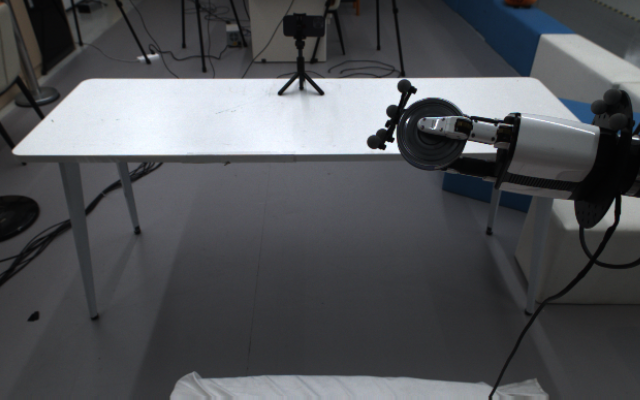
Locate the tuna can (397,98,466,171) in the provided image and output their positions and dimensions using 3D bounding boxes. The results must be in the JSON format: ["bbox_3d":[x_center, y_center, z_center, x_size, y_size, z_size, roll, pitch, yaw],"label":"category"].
[{"bbox_3d":[0.139,-0.083,0.597,0.085,0.085,0.034,9,-5,9],"label":"tuna can"}]
